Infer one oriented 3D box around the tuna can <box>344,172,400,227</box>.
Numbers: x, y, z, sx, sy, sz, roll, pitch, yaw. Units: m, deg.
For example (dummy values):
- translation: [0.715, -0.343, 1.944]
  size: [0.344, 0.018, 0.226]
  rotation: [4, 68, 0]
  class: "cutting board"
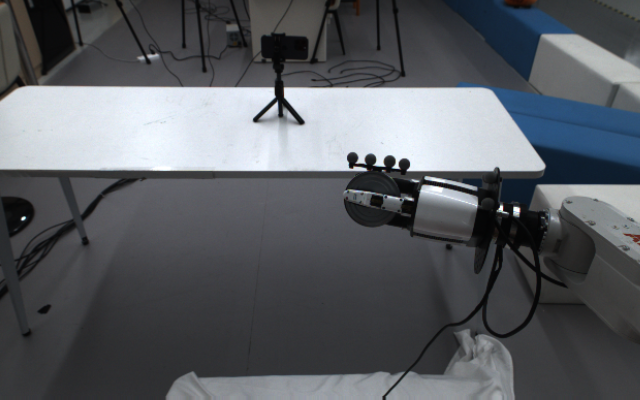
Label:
- translation: [0.081, -0.005, 0.740]
  size: [0.085, 0.085, 0.034]
  rotation: [11, 1, 13]
  class: "tuna can"
